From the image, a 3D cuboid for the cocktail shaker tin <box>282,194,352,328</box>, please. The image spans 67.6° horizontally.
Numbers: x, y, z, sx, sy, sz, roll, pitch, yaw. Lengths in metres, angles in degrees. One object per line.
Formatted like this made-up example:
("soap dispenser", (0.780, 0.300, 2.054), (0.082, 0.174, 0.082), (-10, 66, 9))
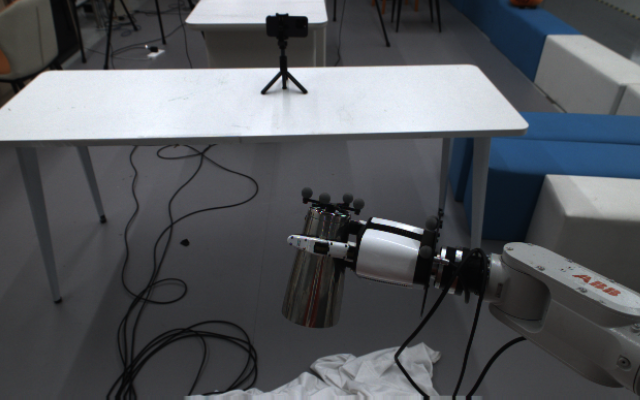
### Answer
("cocktail shaker tin", (0.003, 0.095, 0.746), (0.093, 0.170, 0.093), (10, 9, -2))
